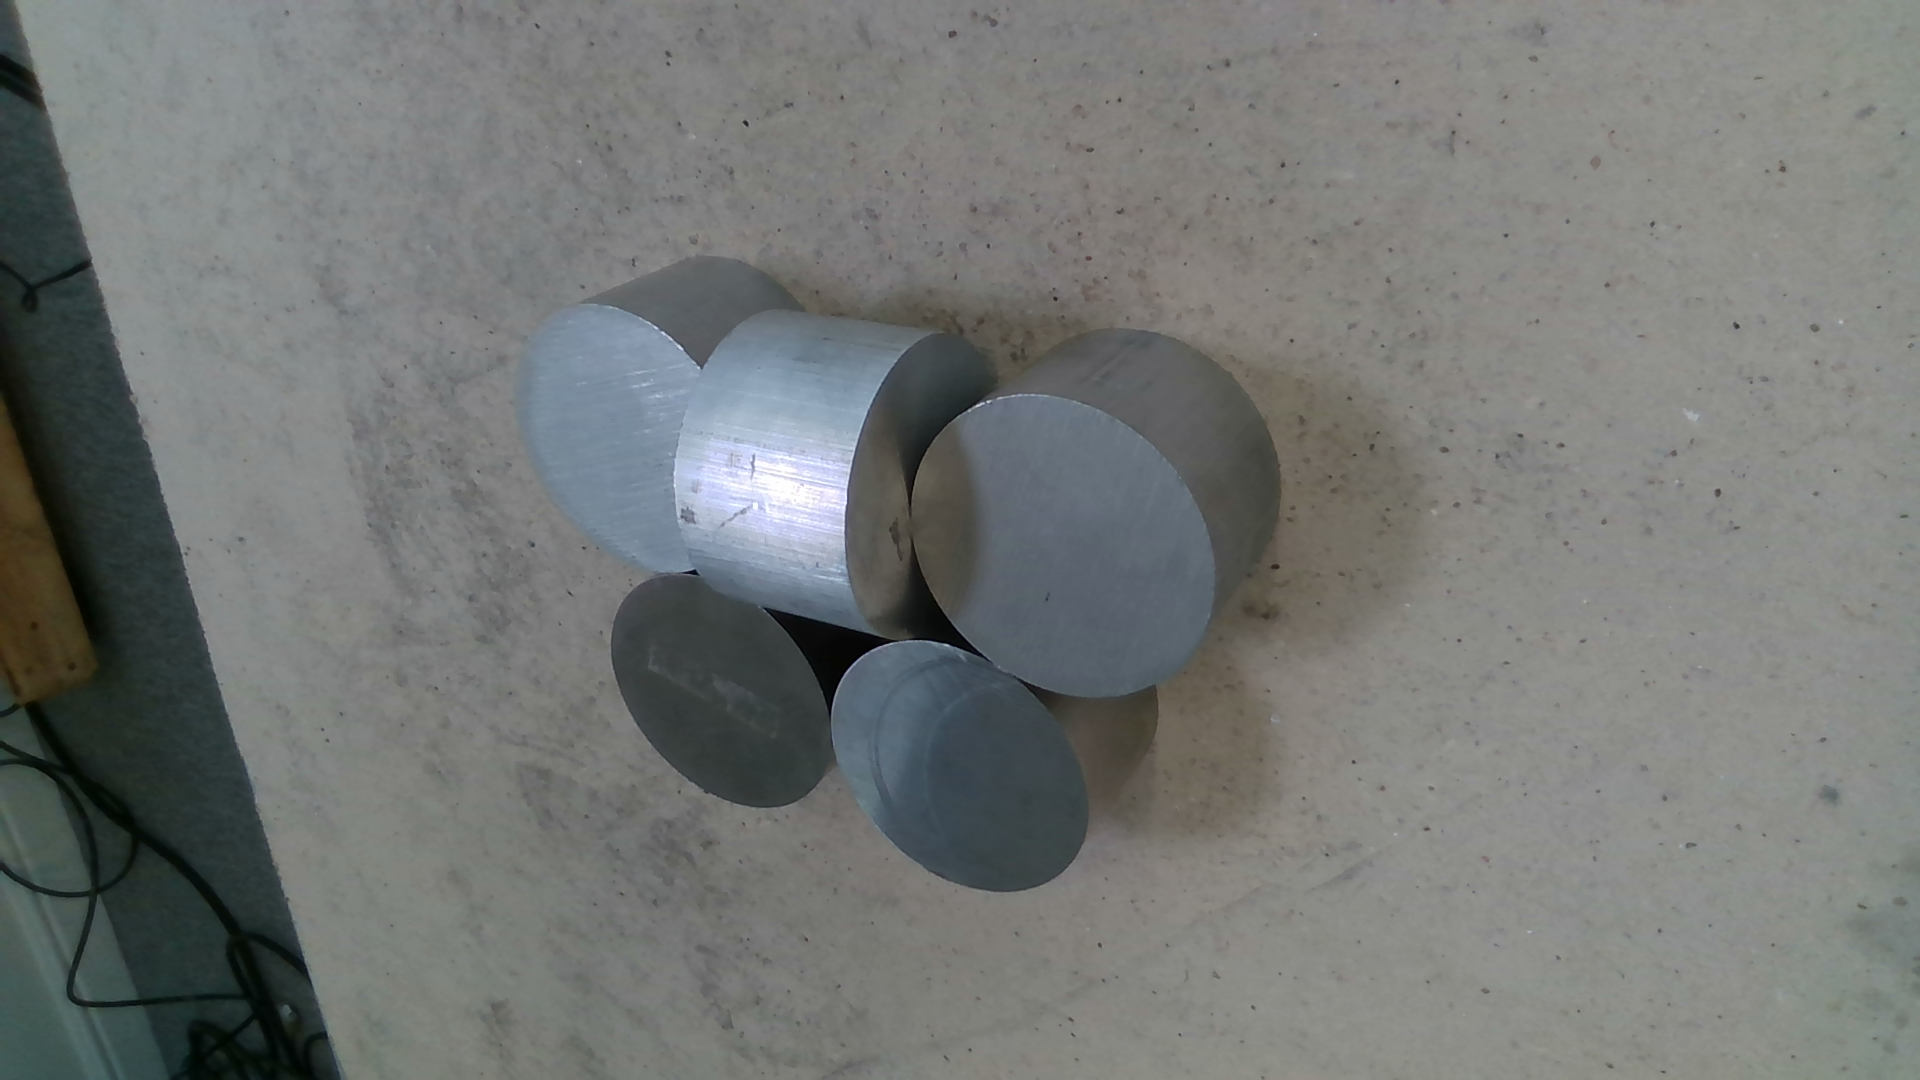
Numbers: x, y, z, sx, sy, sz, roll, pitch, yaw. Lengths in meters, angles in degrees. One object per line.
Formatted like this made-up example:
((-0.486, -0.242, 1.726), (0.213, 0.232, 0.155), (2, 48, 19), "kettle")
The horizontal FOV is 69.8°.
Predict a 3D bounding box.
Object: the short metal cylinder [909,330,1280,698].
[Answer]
((0.034, -0.008, 0.348), (0.080, 0.050, 0.080), (14, 121, 25), "short metal cylinder")

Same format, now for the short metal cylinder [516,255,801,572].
((-0.081, -0.038, 0.402), (0.080, 0.050, 0.080), (14, 121, 25), "short metal cylinder")

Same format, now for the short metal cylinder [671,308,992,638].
((-0.030, -0.019, 0.362), (0.050, 0.080, 0.080), (12, 121, 27), "short metal cylinder")

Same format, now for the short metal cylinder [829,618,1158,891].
((0.010, 0.052, 0.395), (0.080, 0.050, 0.080), (15, 122, 25), "short metal cylinder")

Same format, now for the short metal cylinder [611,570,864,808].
((-0.061, 0.036, 0.429), (0.080, 0.050, 0.080), (14, 121, 25), "short metal cylinder")
